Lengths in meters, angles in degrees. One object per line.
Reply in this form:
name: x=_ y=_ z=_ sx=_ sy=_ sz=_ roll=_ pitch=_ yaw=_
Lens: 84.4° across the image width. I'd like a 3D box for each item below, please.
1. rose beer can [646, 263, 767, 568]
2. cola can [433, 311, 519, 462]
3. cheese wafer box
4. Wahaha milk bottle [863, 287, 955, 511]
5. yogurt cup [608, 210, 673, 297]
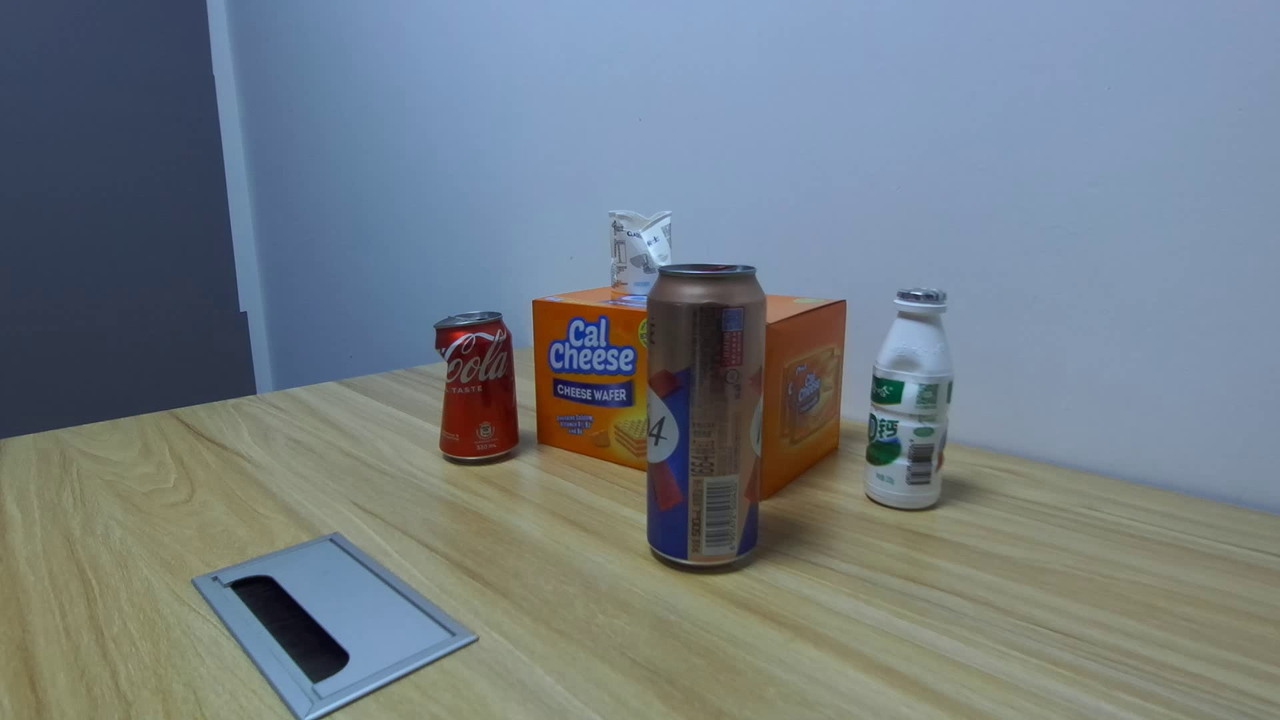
rose beer can: x=0.038 y=0.033 z=0.405 sx=0.068 sy=0.169 sz=0.068 roll=-1 pitch=14 yaw=0
cola can: x=-0.133 y=0.021 z=0.580 sx=0.065 sy=0.117 sz=0.072 roll=1 pitch=13 yaw=0
cheese wafer box: x=0.040 y=0.012 z=0.594 sx=0.221 sy=0.129 sz=0.149 roll=9 pitch=16 yaw=35
Wahaha milk bottle: x=0.183 y=0.031 z=0.480 sx=0.053 sy=0.136 sz=0.053 roll=0 pitch=14 yaw=0
yogurt cup: x=0.001 y=-0.097 z=0.635 sx=0.055 sy=0.072 sz=0.055 roll=-1 pitch=14 yaw=-5
